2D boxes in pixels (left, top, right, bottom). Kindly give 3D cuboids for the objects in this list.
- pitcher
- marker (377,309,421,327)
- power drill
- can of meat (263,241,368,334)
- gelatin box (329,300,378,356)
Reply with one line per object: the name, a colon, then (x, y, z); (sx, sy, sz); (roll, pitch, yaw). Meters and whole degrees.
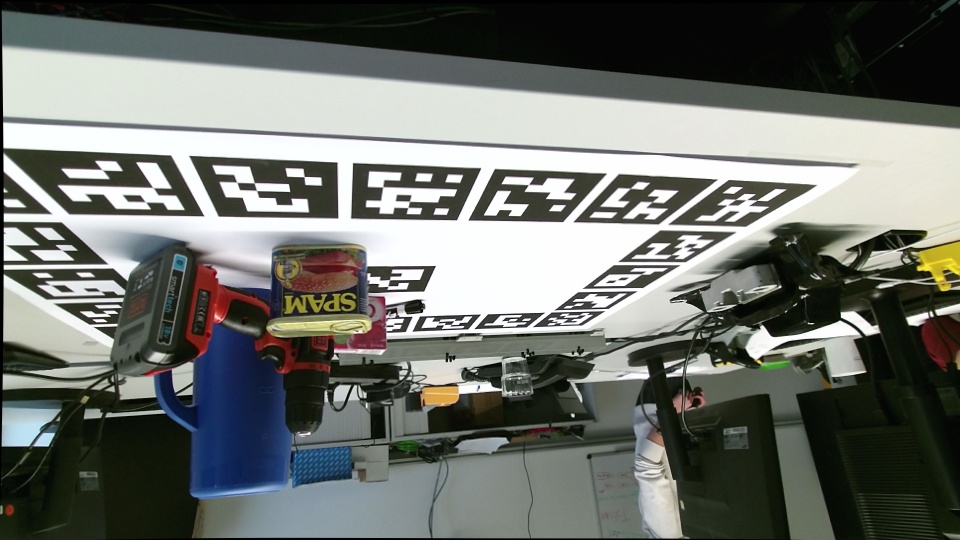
pitcher: (-0.314, 0.150, 0.649); (0.133, 0.241, 0.189); (-29, 156, 35)
marker: (-0.145, 0.074, 0.785); (0.121, 0.019, 0.020); (-12, 157, 9)
power drill: (-0.245, 0.087, 0.579); (0.057, 0.183, 0.188); (-27, 145, 34)
can of meat: (-0.170, 0.018, 0.557); (0.102, 0.083, 0.058); (-1, 159, -14)
gelatin box: (-0.182, 0.075, 0.713); (0.090, 0.073, 0.030); (5, 151, -24)
